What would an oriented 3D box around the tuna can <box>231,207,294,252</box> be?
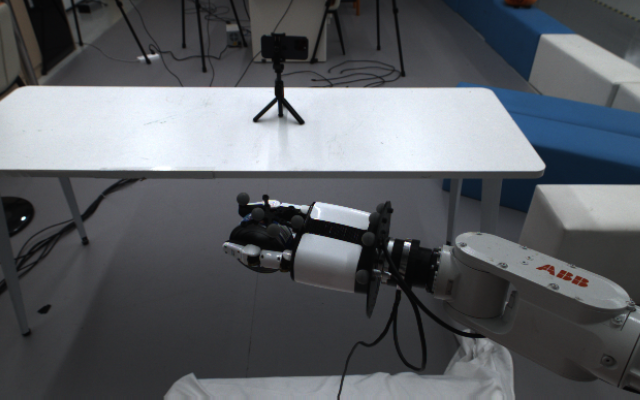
[{"bbox_3d":[-0.079,0.059,0.677,0.085,0.085,0.034,12,33,14],"label":"tuna can"}]
